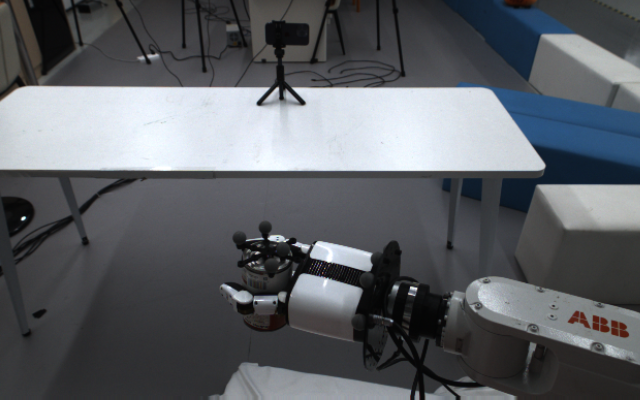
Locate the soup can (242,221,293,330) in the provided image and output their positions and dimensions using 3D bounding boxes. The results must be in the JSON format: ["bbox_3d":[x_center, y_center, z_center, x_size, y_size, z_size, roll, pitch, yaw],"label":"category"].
[{"bbox_3d":[-0.068,0.115,0.638,0.067,0.101,0.067,3,30,-2],"label":"soup can"}]
